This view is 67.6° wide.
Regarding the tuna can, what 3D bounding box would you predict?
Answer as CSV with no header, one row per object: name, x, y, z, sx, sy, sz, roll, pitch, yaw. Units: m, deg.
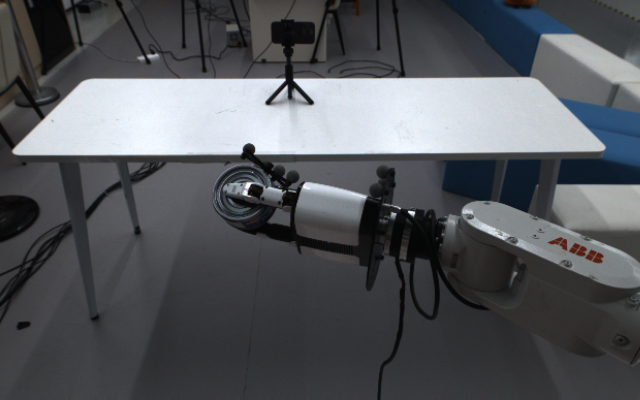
tuna can,-0.098,0.001,0.653,0.085,0.034,0.085,-4,69,10
